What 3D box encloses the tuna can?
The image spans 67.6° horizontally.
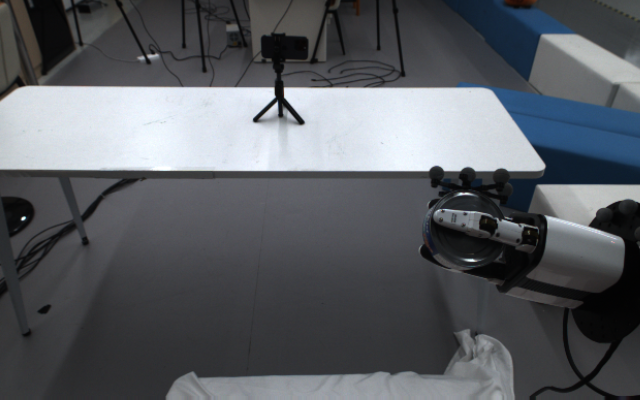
[{"bbox_3d":[0.161,0.029,0.535,0.085,0.034,0.085,1,74,-4],"label":"tuna can"}]
